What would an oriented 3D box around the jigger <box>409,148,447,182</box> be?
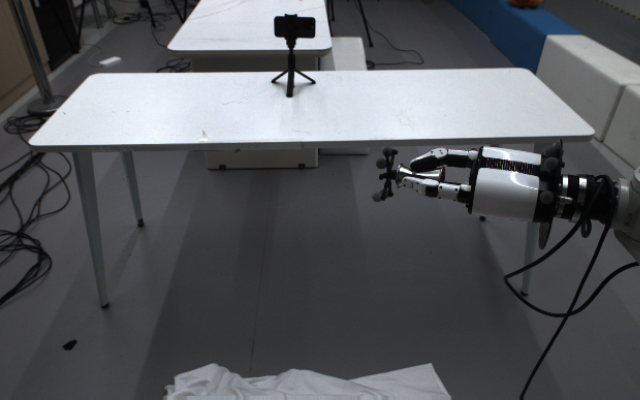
[{"bbox_3d":[0.162,-0.038,0.752,0.071,0.043,0.043,8,34,23],"label":"jigger"}]
